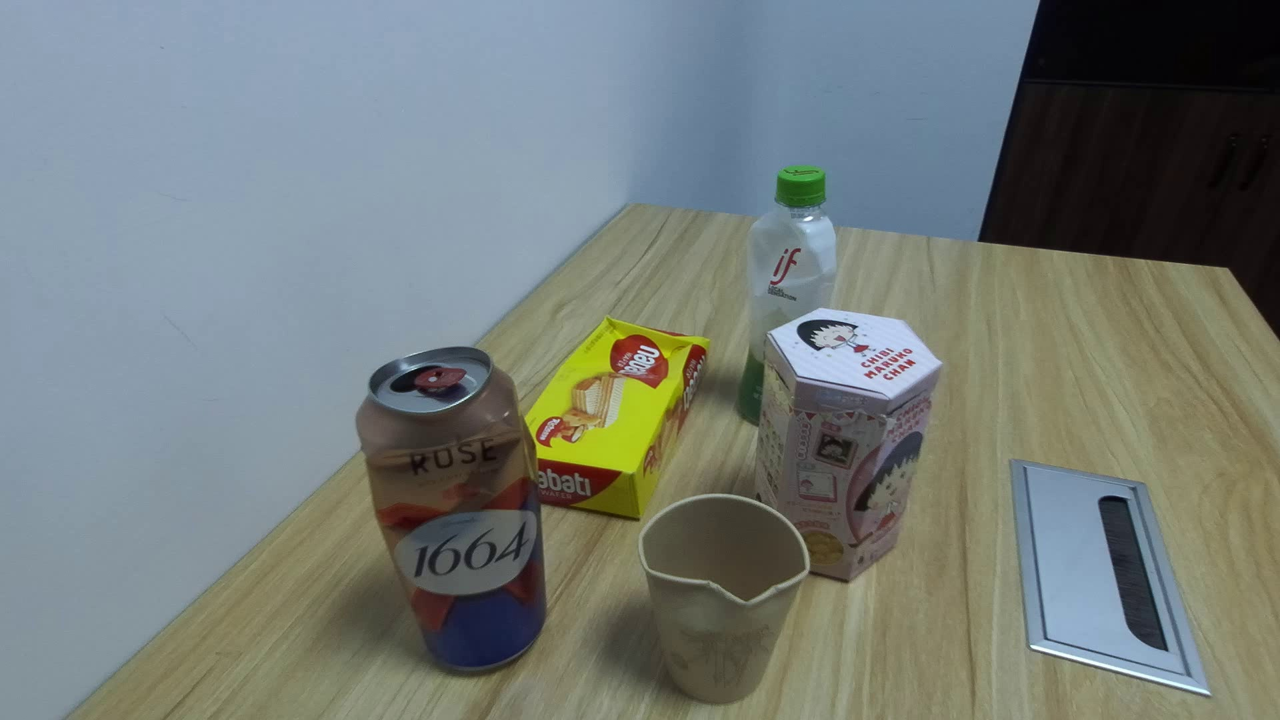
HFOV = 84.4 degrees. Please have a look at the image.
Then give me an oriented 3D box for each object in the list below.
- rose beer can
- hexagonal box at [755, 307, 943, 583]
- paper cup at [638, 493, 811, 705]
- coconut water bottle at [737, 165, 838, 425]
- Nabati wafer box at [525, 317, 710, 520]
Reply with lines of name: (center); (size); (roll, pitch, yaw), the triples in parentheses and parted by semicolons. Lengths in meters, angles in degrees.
rose beer can: (-0.087, 0.078, 0.352); (0.076, 0.167, 0.065); (-7, 26, -2)
hexagonal box: (0.114, 0.049, 0.404); (0.091, 0.136, 0.083); (-25, 40, -32)
paper cup: (0.038, 0.119, 0.347); (0.074, 0.081, 0.068); (-19, 36, -27)
coconut water bottle: (0.105, -0.041, 0.497); (0.067, 0.187, 0.067); (0, 31, 0)
Nabati wafer box: (-0.015, 0.030, 0.531); (0.096, 0.042, 0.203); (8, 33, 17)
